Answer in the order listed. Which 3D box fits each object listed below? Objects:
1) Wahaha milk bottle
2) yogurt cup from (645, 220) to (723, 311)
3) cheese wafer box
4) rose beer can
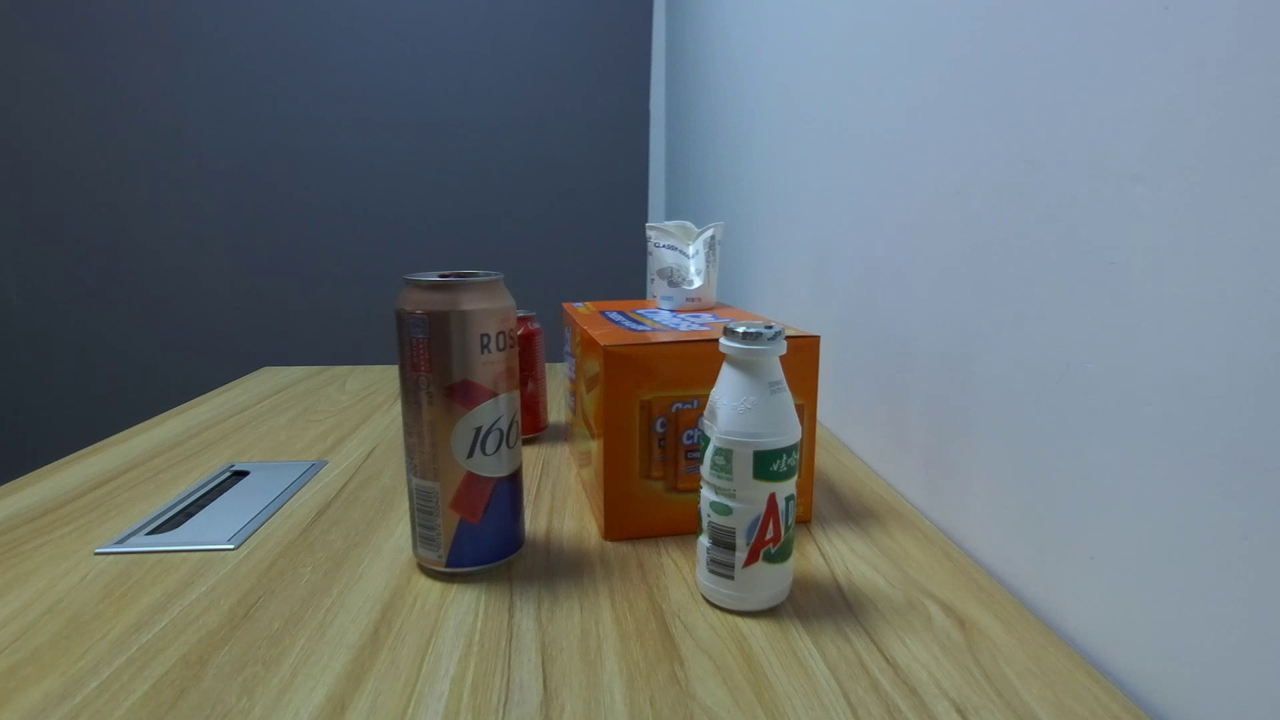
[{"bbox_3d":[0.056,0.060,0.370,0.053,0.136,0.053,0,13,0],"label":"Wahaha milk bottle"},{"bbox_3d":[0.040,-0.081,0.602,0.054,0.072,0.055,8,15,36],"label":"yogurt cup"},{"bbox_3d":[0.027,0.030,0.549,0.148,0.129,0.221,-3,12,-12],"label":"cheese wafer box"},{"bbox_3d":[-0.104,0.037,0.416,0.068,0.169,0.068,-2,10,1],"label":"rose beer can"}]
